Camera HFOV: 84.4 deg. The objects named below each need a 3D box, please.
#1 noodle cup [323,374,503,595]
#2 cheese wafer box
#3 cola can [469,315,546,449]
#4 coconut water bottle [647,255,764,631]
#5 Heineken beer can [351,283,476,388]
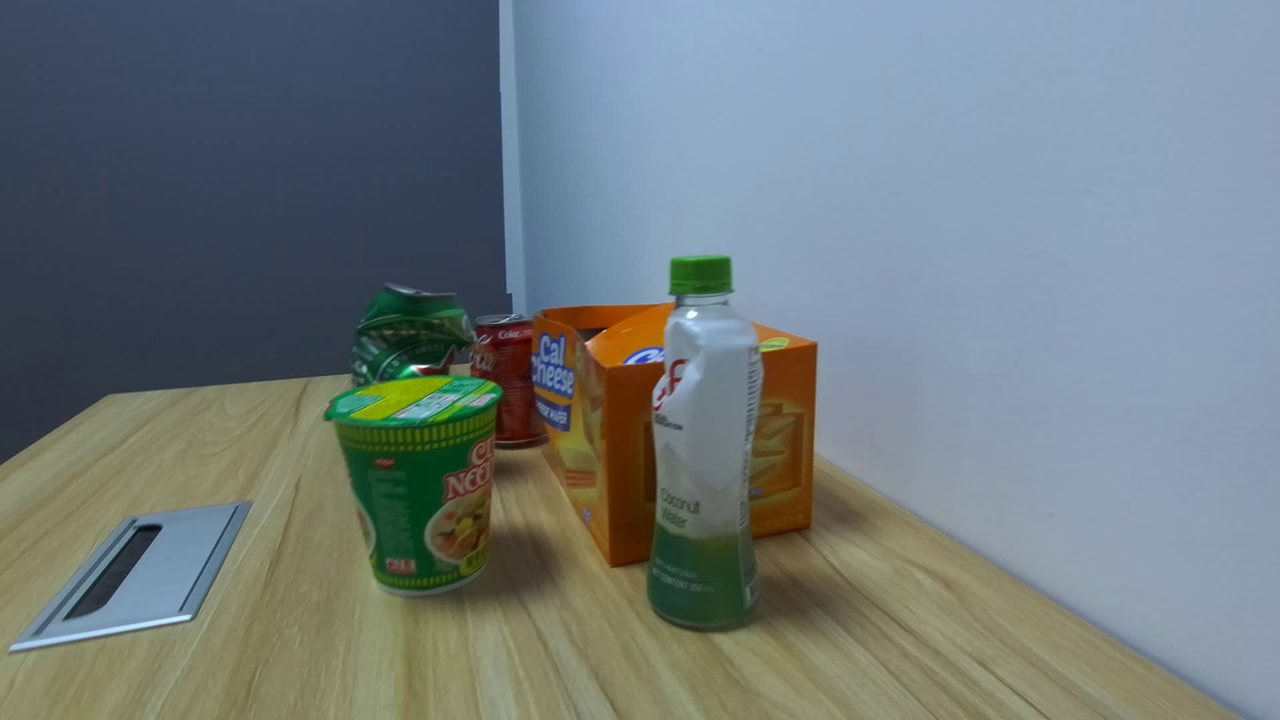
[{"bbox_3d":[-0.128,0.074,0.423,0.097,0.110,0.097,-1,14,1],"label":"noodle cup"},{"bbox_3d":[0.011,0.036,0.537,0.153,0.132,0.229,-7,15,-18],"label":"cheese wafer box"},{"bbox_3d":[-0.122,0.015,0.660,0.067,0.117,0.065,-8,16,-28],"label":"cola can"},{"bbox_3d":[0.033,0.041,0.372,0.069,0.186,0.069,-1,12,0],"label":"coconut water bottle"},{"bbox_3d":[-0.181,0.022,0.553,0.079,0.159,0.067,-1,9,-40],"label":"Heineken beer can"}]
